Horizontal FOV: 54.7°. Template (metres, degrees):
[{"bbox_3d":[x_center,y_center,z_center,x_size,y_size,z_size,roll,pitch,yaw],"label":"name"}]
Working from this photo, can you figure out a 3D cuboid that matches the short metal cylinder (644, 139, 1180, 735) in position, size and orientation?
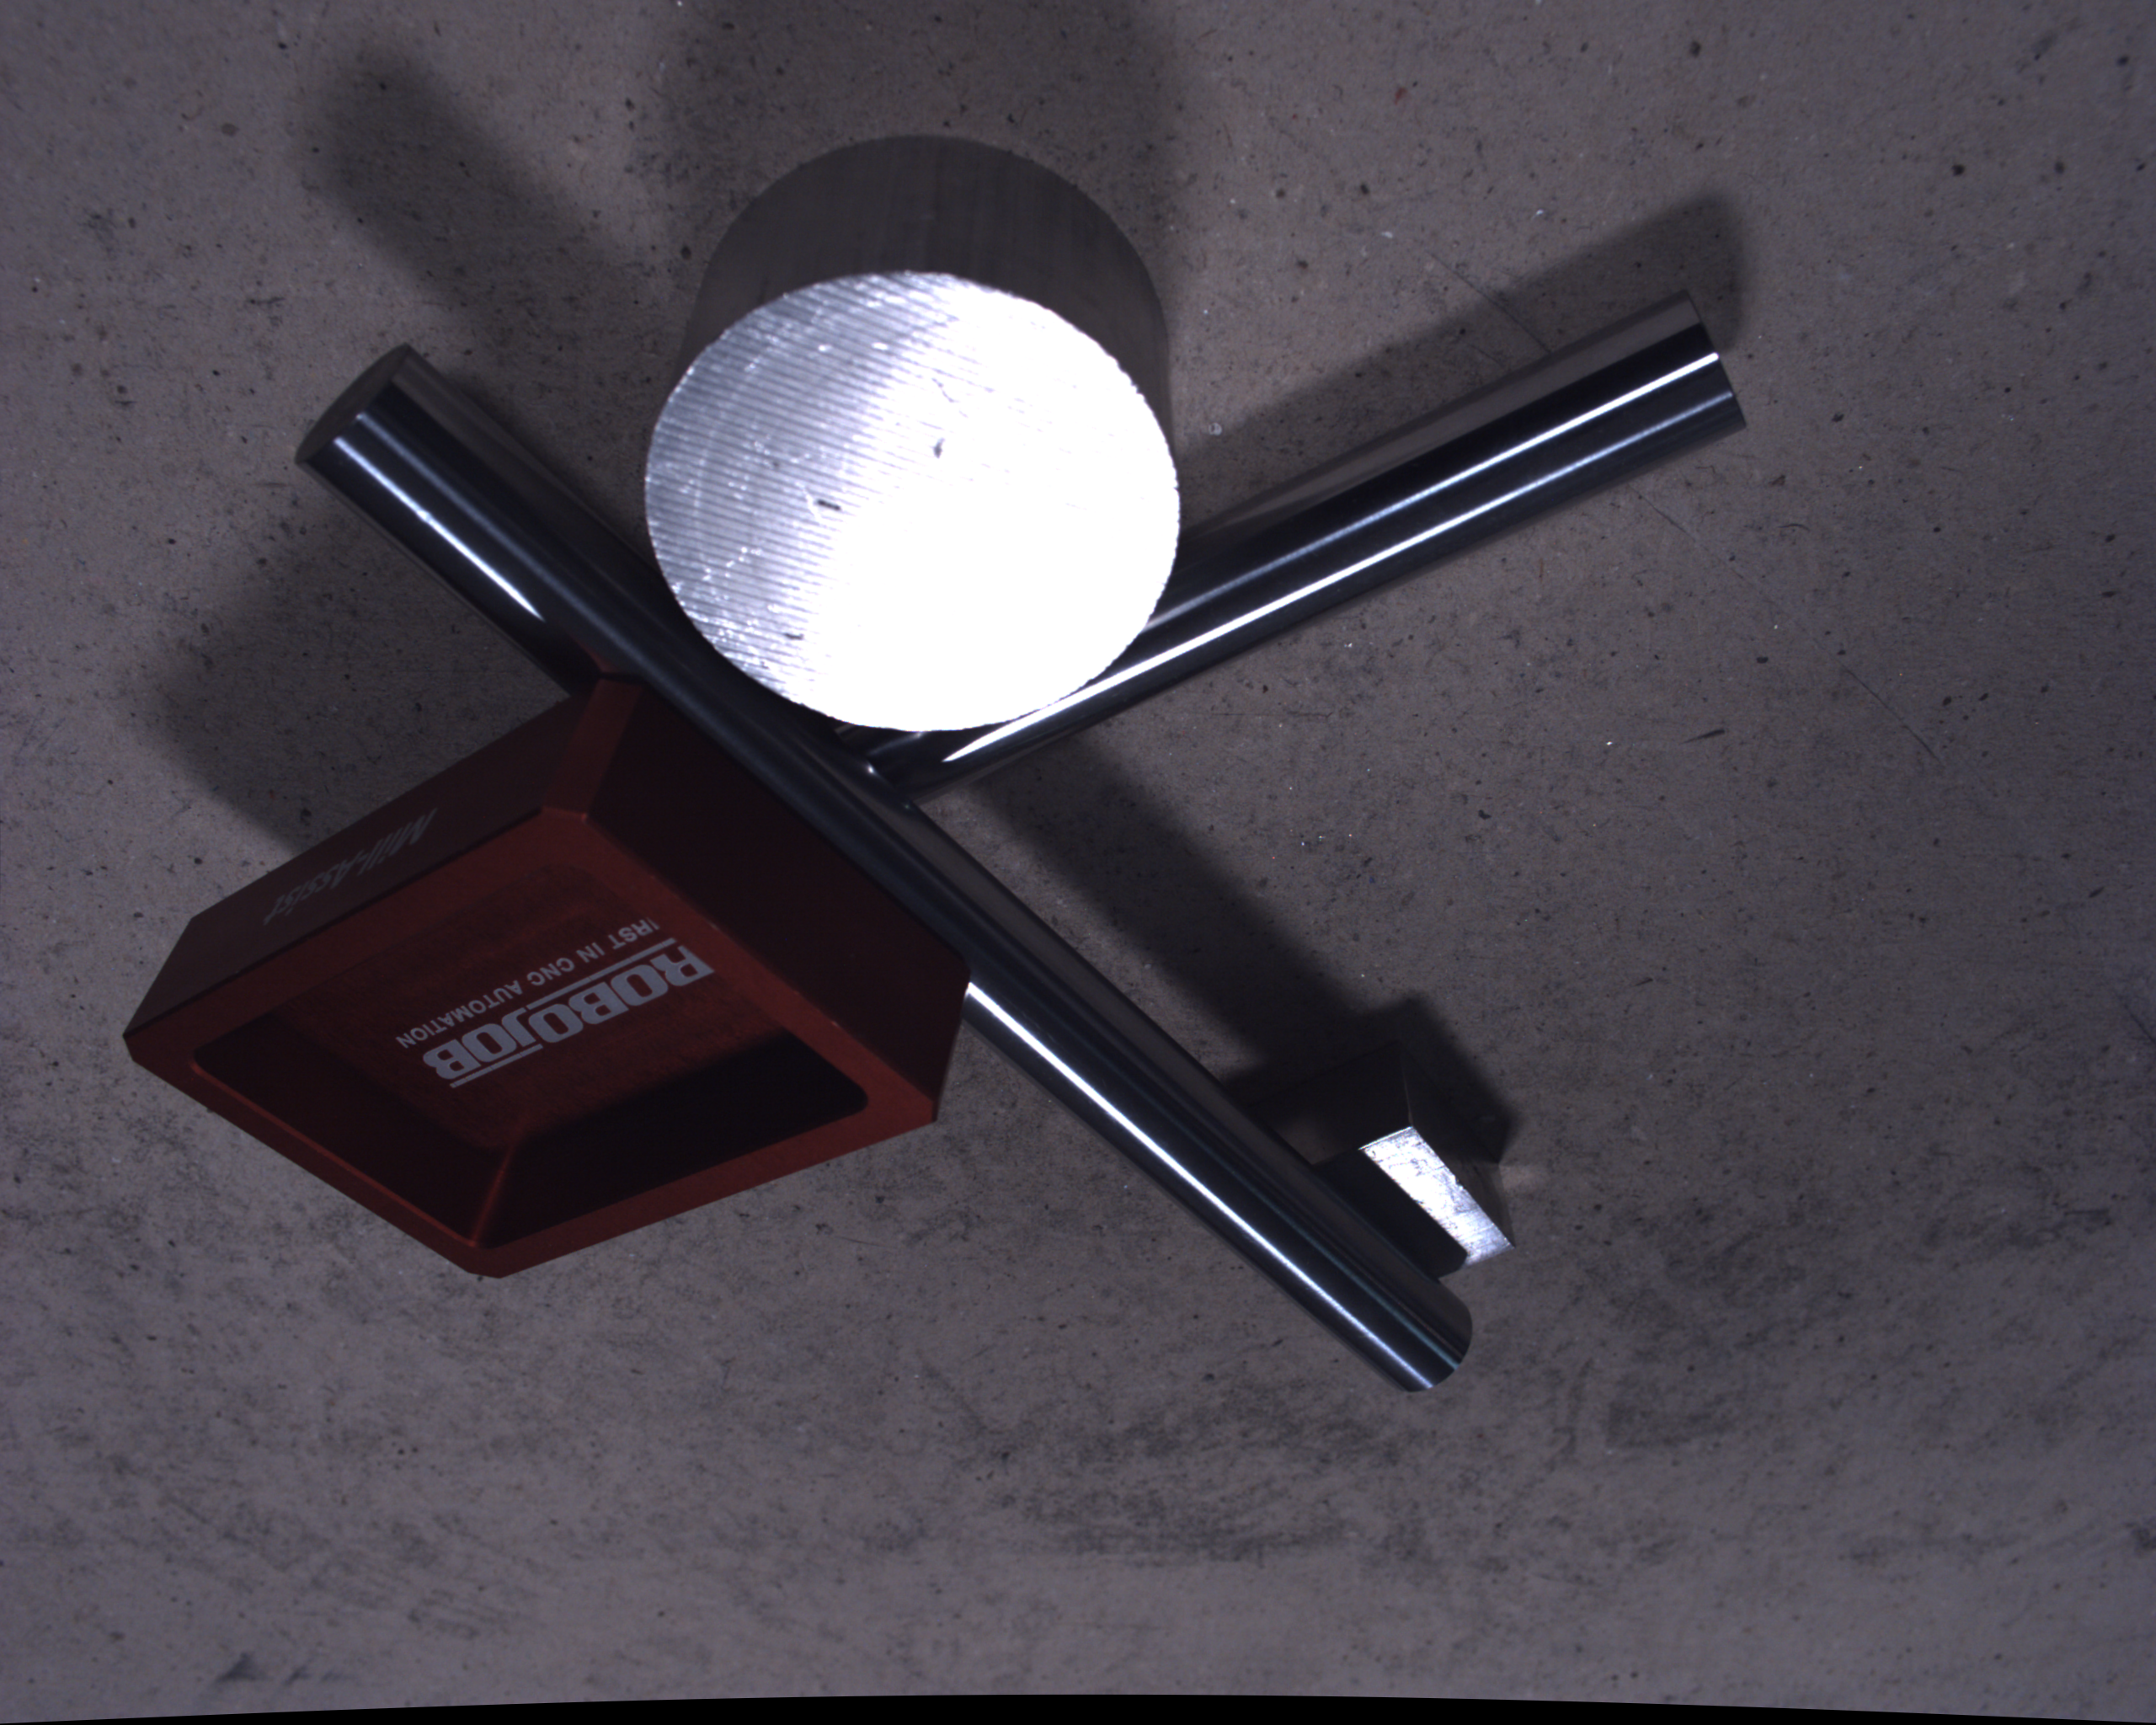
[{"bbox_3d":[-0.025,-0.067,0.334,0.081,0.050,0.079,0,130,0],"label":"short metal cylinder"}]

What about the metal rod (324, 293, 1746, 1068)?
[{"bbox_3d":[-0.027,-0.025,0.387,0.300,0.025,0.025,-23,127,18],"label":"metal rod"}]

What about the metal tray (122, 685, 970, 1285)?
[{"bbox_3d":[-0.097,0.029,0.378,0.130,0.030,0.090,-24,127,33],"label":"metal tray"}]

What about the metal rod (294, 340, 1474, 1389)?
[{"bbox_3d":[-0.016,0.019,0.392,0.025,0.025,0.300,-32,124,24],"label":"metal rod"}]

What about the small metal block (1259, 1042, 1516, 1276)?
[{"bbox_3d":[0.063,0.074,0.472,0.050,0.025,0.050,-27,126,20],"label":"small metal block"}]
